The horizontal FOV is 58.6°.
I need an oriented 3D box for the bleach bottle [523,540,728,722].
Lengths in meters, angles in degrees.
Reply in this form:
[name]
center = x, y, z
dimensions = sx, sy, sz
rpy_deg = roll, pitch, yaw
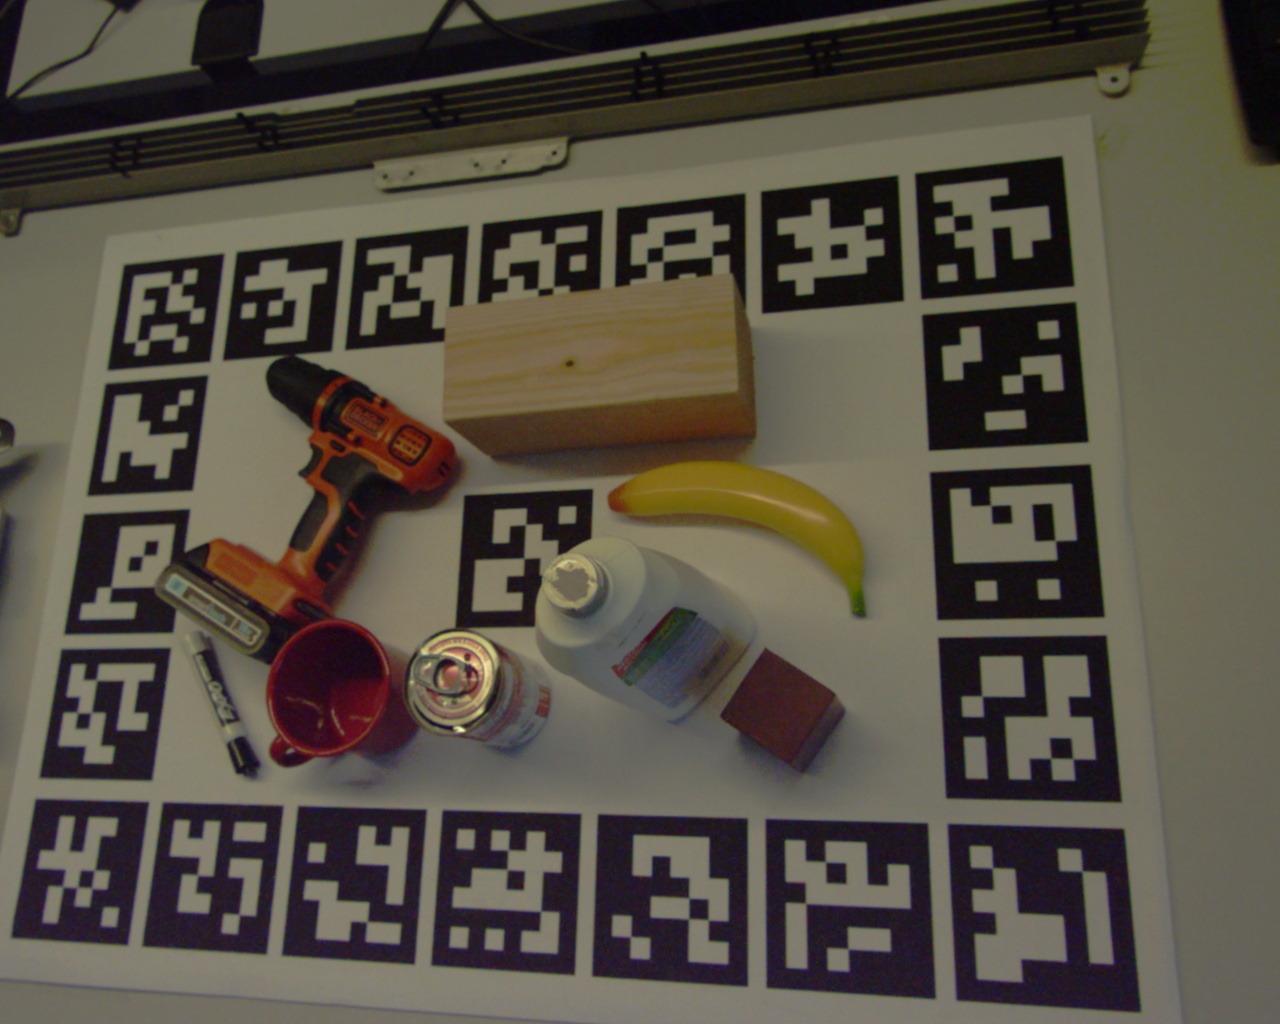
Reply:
[bleach bottle]
center = -0.011, 0.066, 0.702
dimensions = 0.068, 0.248, 0.102
rpy_deg = 28, 81, 21

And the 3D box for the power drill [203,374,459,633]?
[power drill]
center = -0.258, -0.003, 0.899
dimensions = 0.186, 0.057, 0.187
rpy_deg = 28, 81, 18

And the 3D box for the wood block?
[wood block]
center = -0.032, -0.095, 0.843
dimensions = 0.208, 0.090, 0.090
rpy_deg = -3, 74, 14

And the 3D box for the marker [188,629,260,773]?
[marker]
center = -0.325, 0.147, 0.889
dimensions = 0.020, 0.019, 0.122
rpy_deg = -32, 69, 6

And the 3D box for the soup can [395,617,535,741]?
[soup can]
center = -0.118, 0.118, 0.788
dimensions = 0.068, 0.101, 0.068
rpy_deg = -5, 69, 11

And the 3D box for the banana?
[banana]
center = 0.050, -0.007, 0.817
dimensions = 0.199, 0.038, 0.074
rpy_deg = 14, 92, 16

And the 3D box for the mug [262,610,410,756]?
[mug]
center = -0.220, 0.131, 0.829
dimensions = 0.094, 0.081, 0.117
rpy_deg = 43, 91, 20

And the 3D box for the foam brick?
[foam brick]
center = 0.085, 0.131, 0.750
dimensions = 0.053, 0.077, 0.051
rpy_deg = 33, 82, 23
